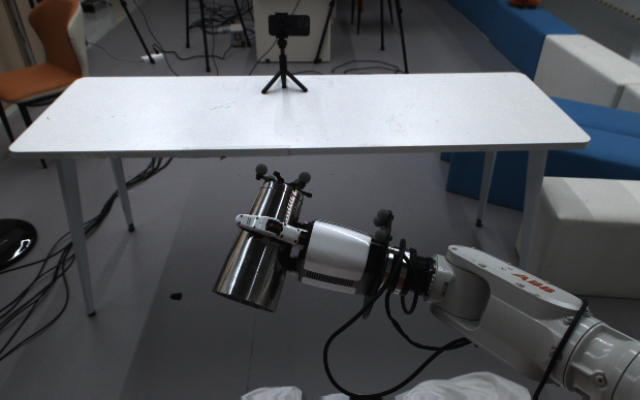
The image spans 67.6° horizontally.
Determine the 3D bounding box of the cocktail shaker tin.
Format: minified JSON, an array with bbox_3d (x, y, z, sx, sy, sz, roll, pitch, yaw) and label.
[{"bbox_3d":[-0.081,0.062,0.684,0.093,0.093,0.170,13,70,15],"label":"cocktail shaker tin"}]
